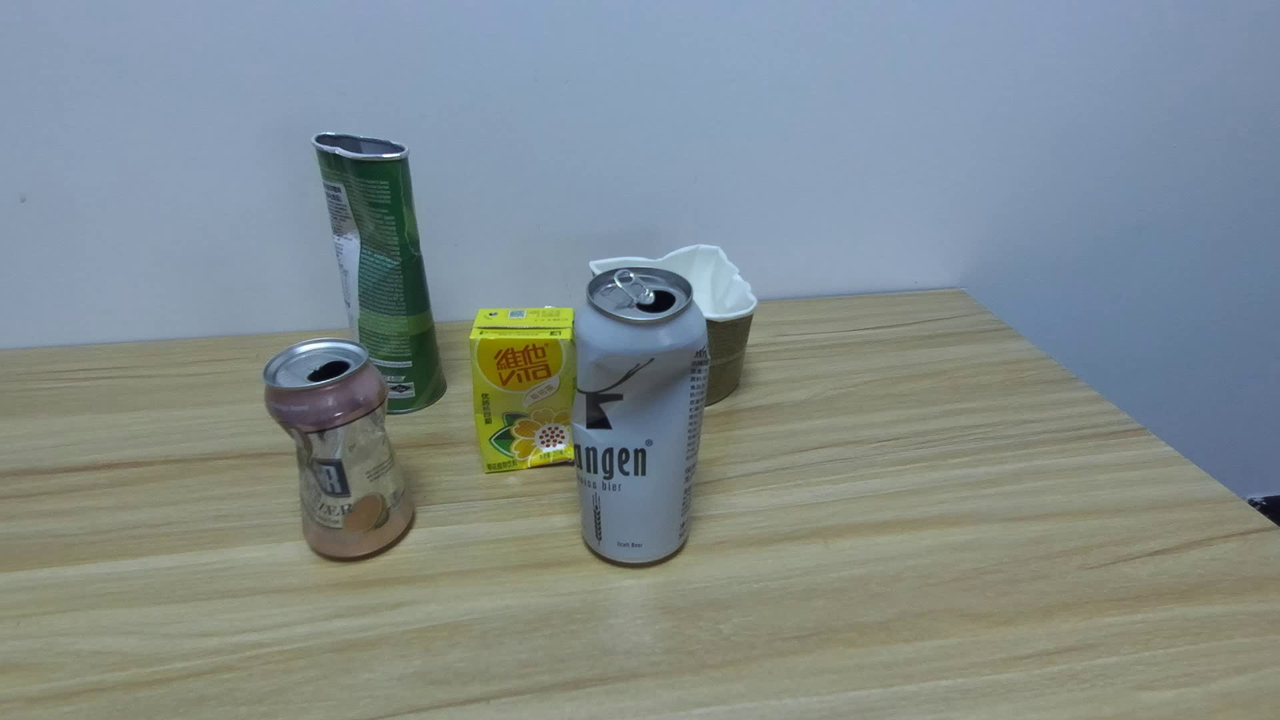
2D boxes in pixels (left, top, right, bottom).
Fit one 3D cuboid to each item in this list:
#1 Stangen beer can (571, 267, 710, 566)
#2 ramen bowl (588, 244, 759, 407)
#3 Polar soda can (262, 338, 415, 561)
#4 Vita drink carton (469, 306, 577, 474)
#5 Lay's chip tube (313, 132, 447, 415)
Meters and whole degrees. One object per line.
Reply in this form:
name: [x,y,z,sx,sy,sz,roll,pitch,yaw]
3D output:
Stangen beer can: [-0.002,0.035,0.395,0.070,0.173,0.070,26,40,36]
ramen bowl: [0.035,-0.026,0.577,0.114,0.097,0.133,-12,32,-22]
Polar soda can: [-0.174,0.055,0.413,0.067,0.122,0.074,-3,28,-3]
Vita drink carton: [-0.073,0.021,0.484,0.076,0.109,0.043,-2,31,-5]
Lay's chip tube: [-0.193,-0.060,0.529,0.075,0.199,0.069,-1,31,-4]
